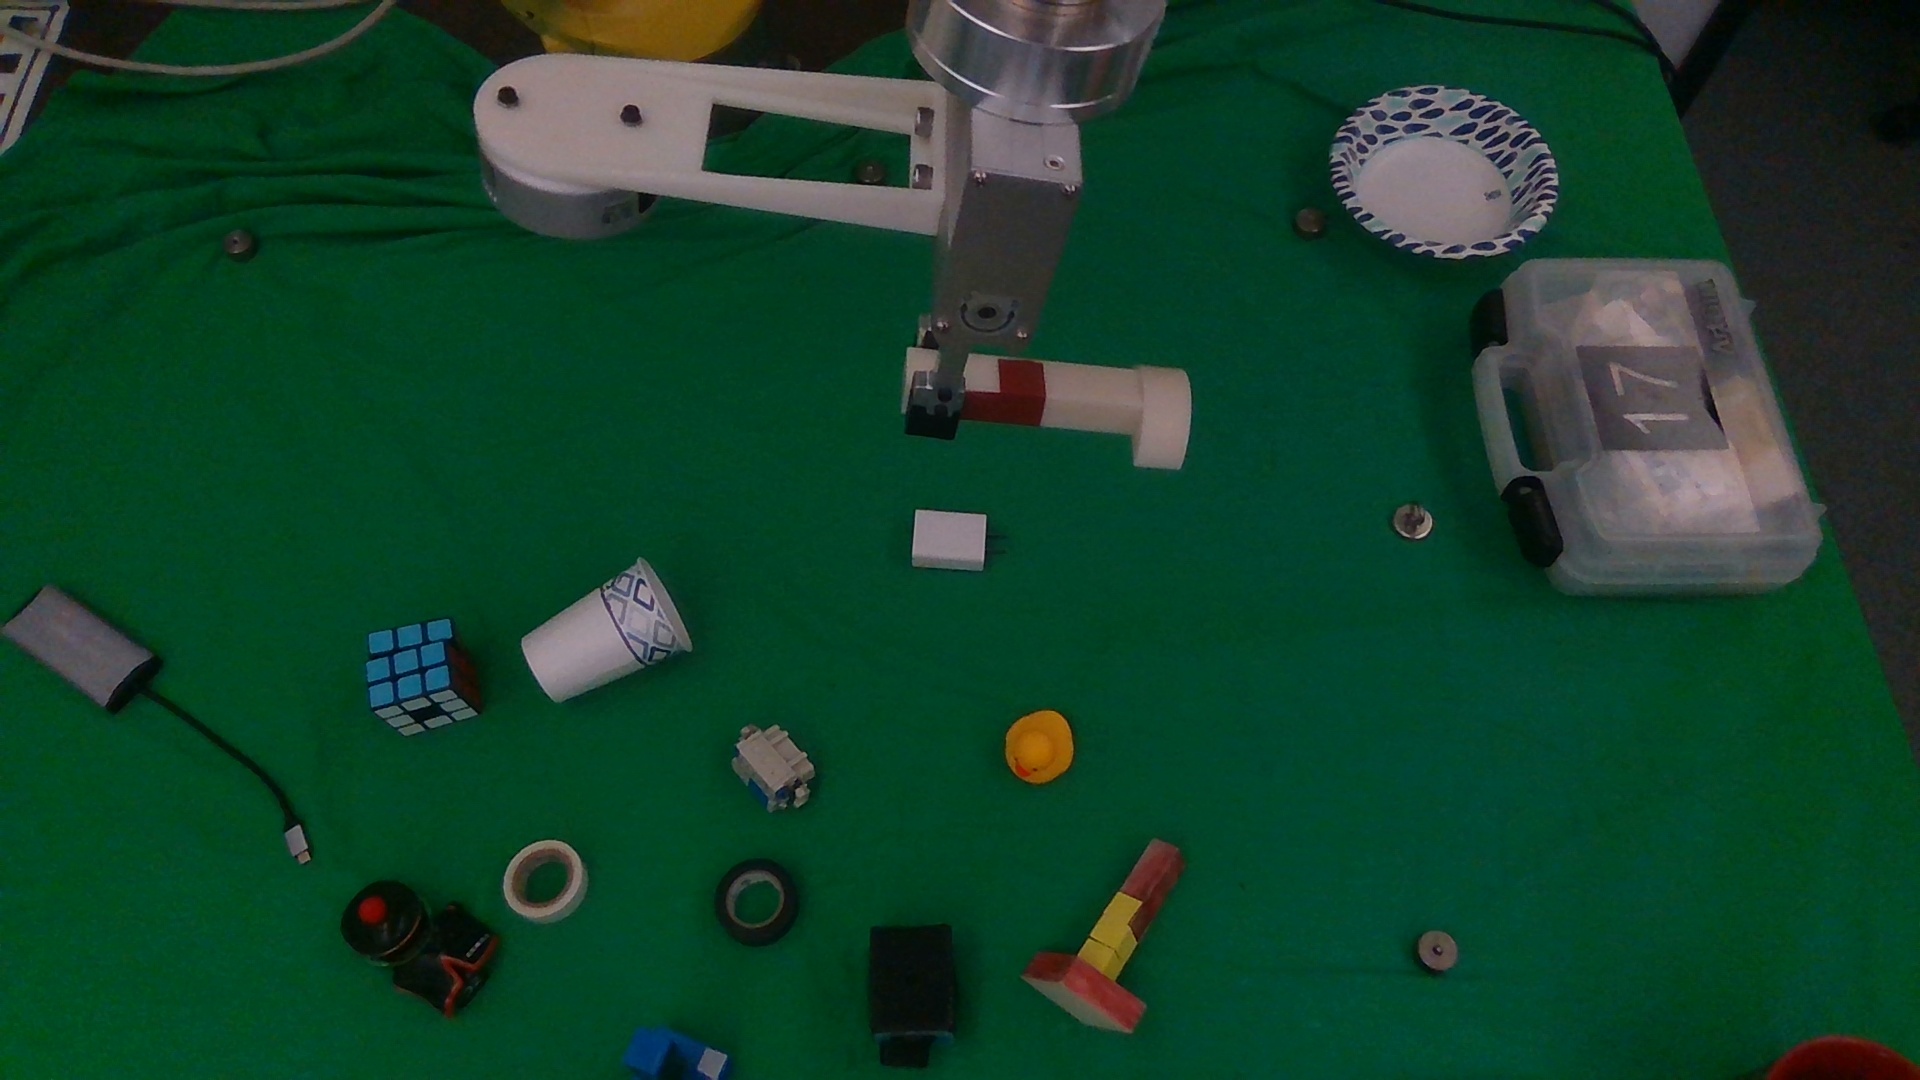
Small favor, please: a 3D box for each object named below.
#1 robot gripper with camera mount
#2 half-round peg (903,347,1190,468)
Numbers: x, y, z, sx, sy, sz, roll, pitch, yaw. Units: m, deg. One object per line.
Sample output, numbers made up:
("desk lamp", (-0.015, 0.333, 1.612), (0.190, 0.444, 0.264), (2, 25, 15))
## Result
("robot gripper with camera mount", (-0.090, -0.111, 0.507), (0.193, 0.159, 0.119), (3, 54, -7))
("half-round peg", (0.034, -0.062, 0.581), (0.122, 0.031, 0.054), (5, 53, -5))
